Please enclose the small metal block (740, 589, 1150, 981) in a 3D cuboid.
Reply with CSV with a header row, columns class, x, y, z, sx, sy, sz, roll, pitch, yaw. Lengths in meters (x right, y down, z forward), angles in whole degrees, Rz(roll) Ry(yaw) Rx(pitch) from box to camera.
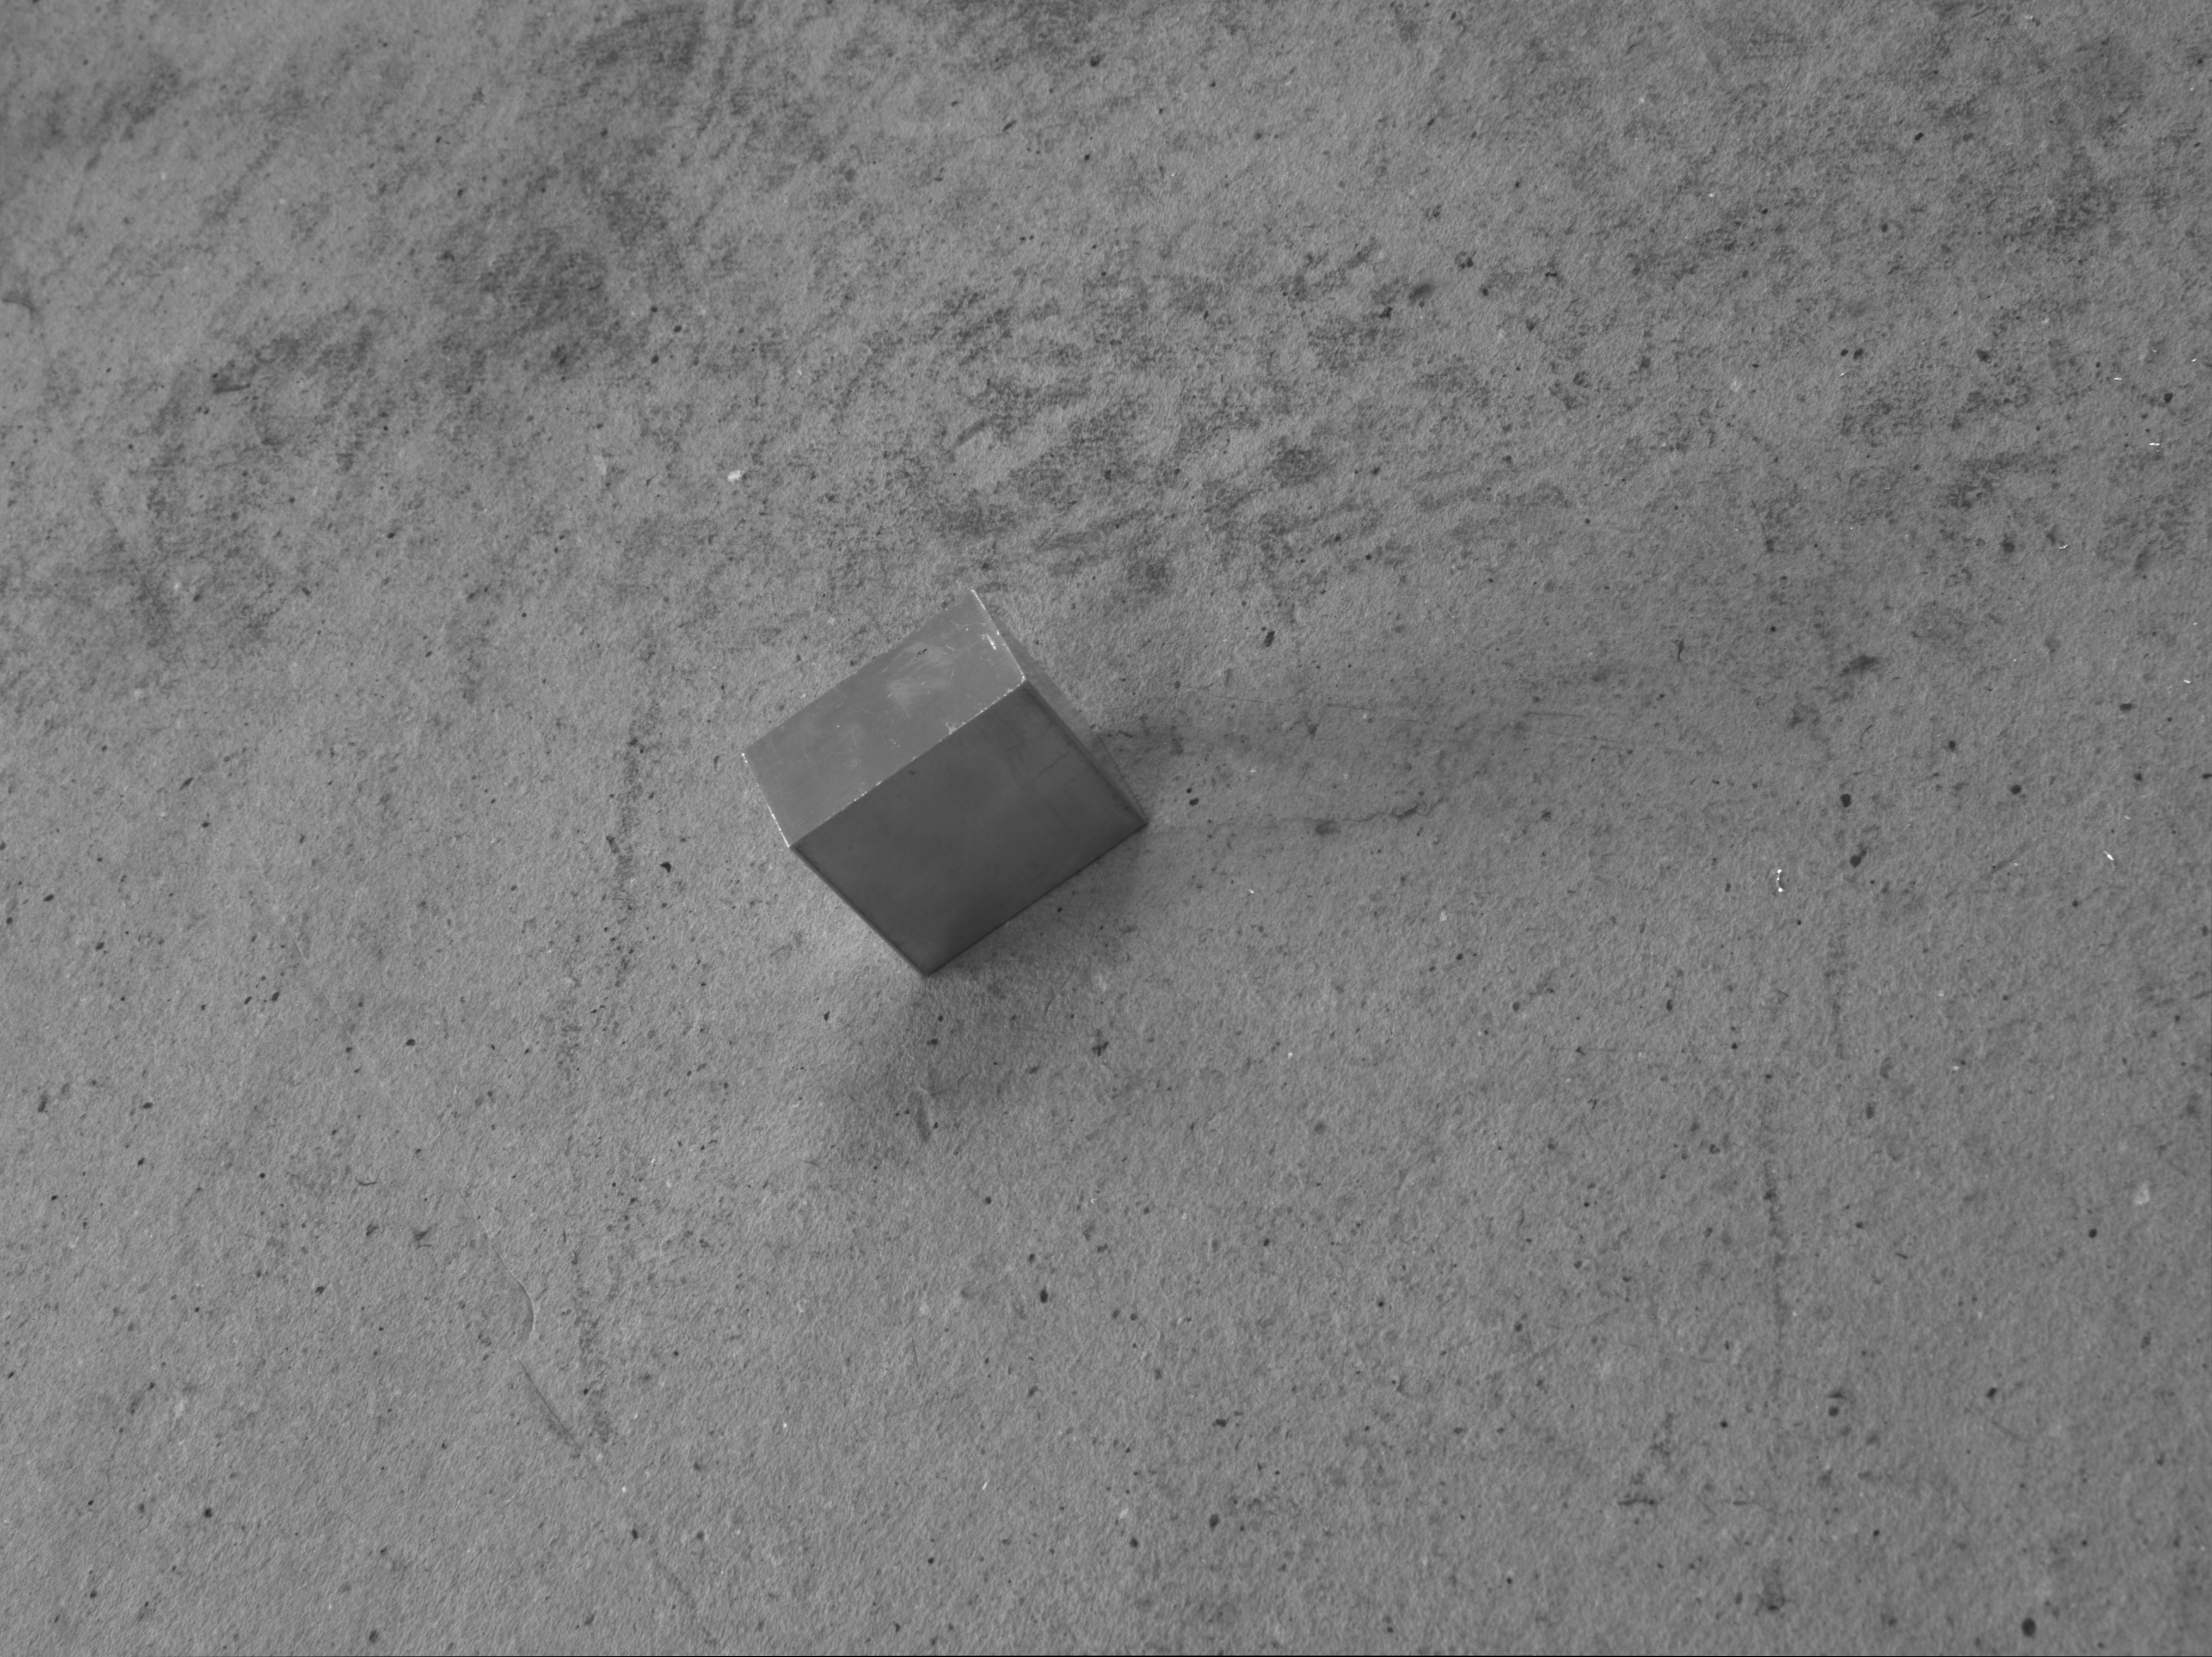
class,x,y,z,sx,sy,sz,roll,pitch,yaw
small metal block,-0.028,-0.007,0.649,0.050,0.050,0.025,-35,51,5
